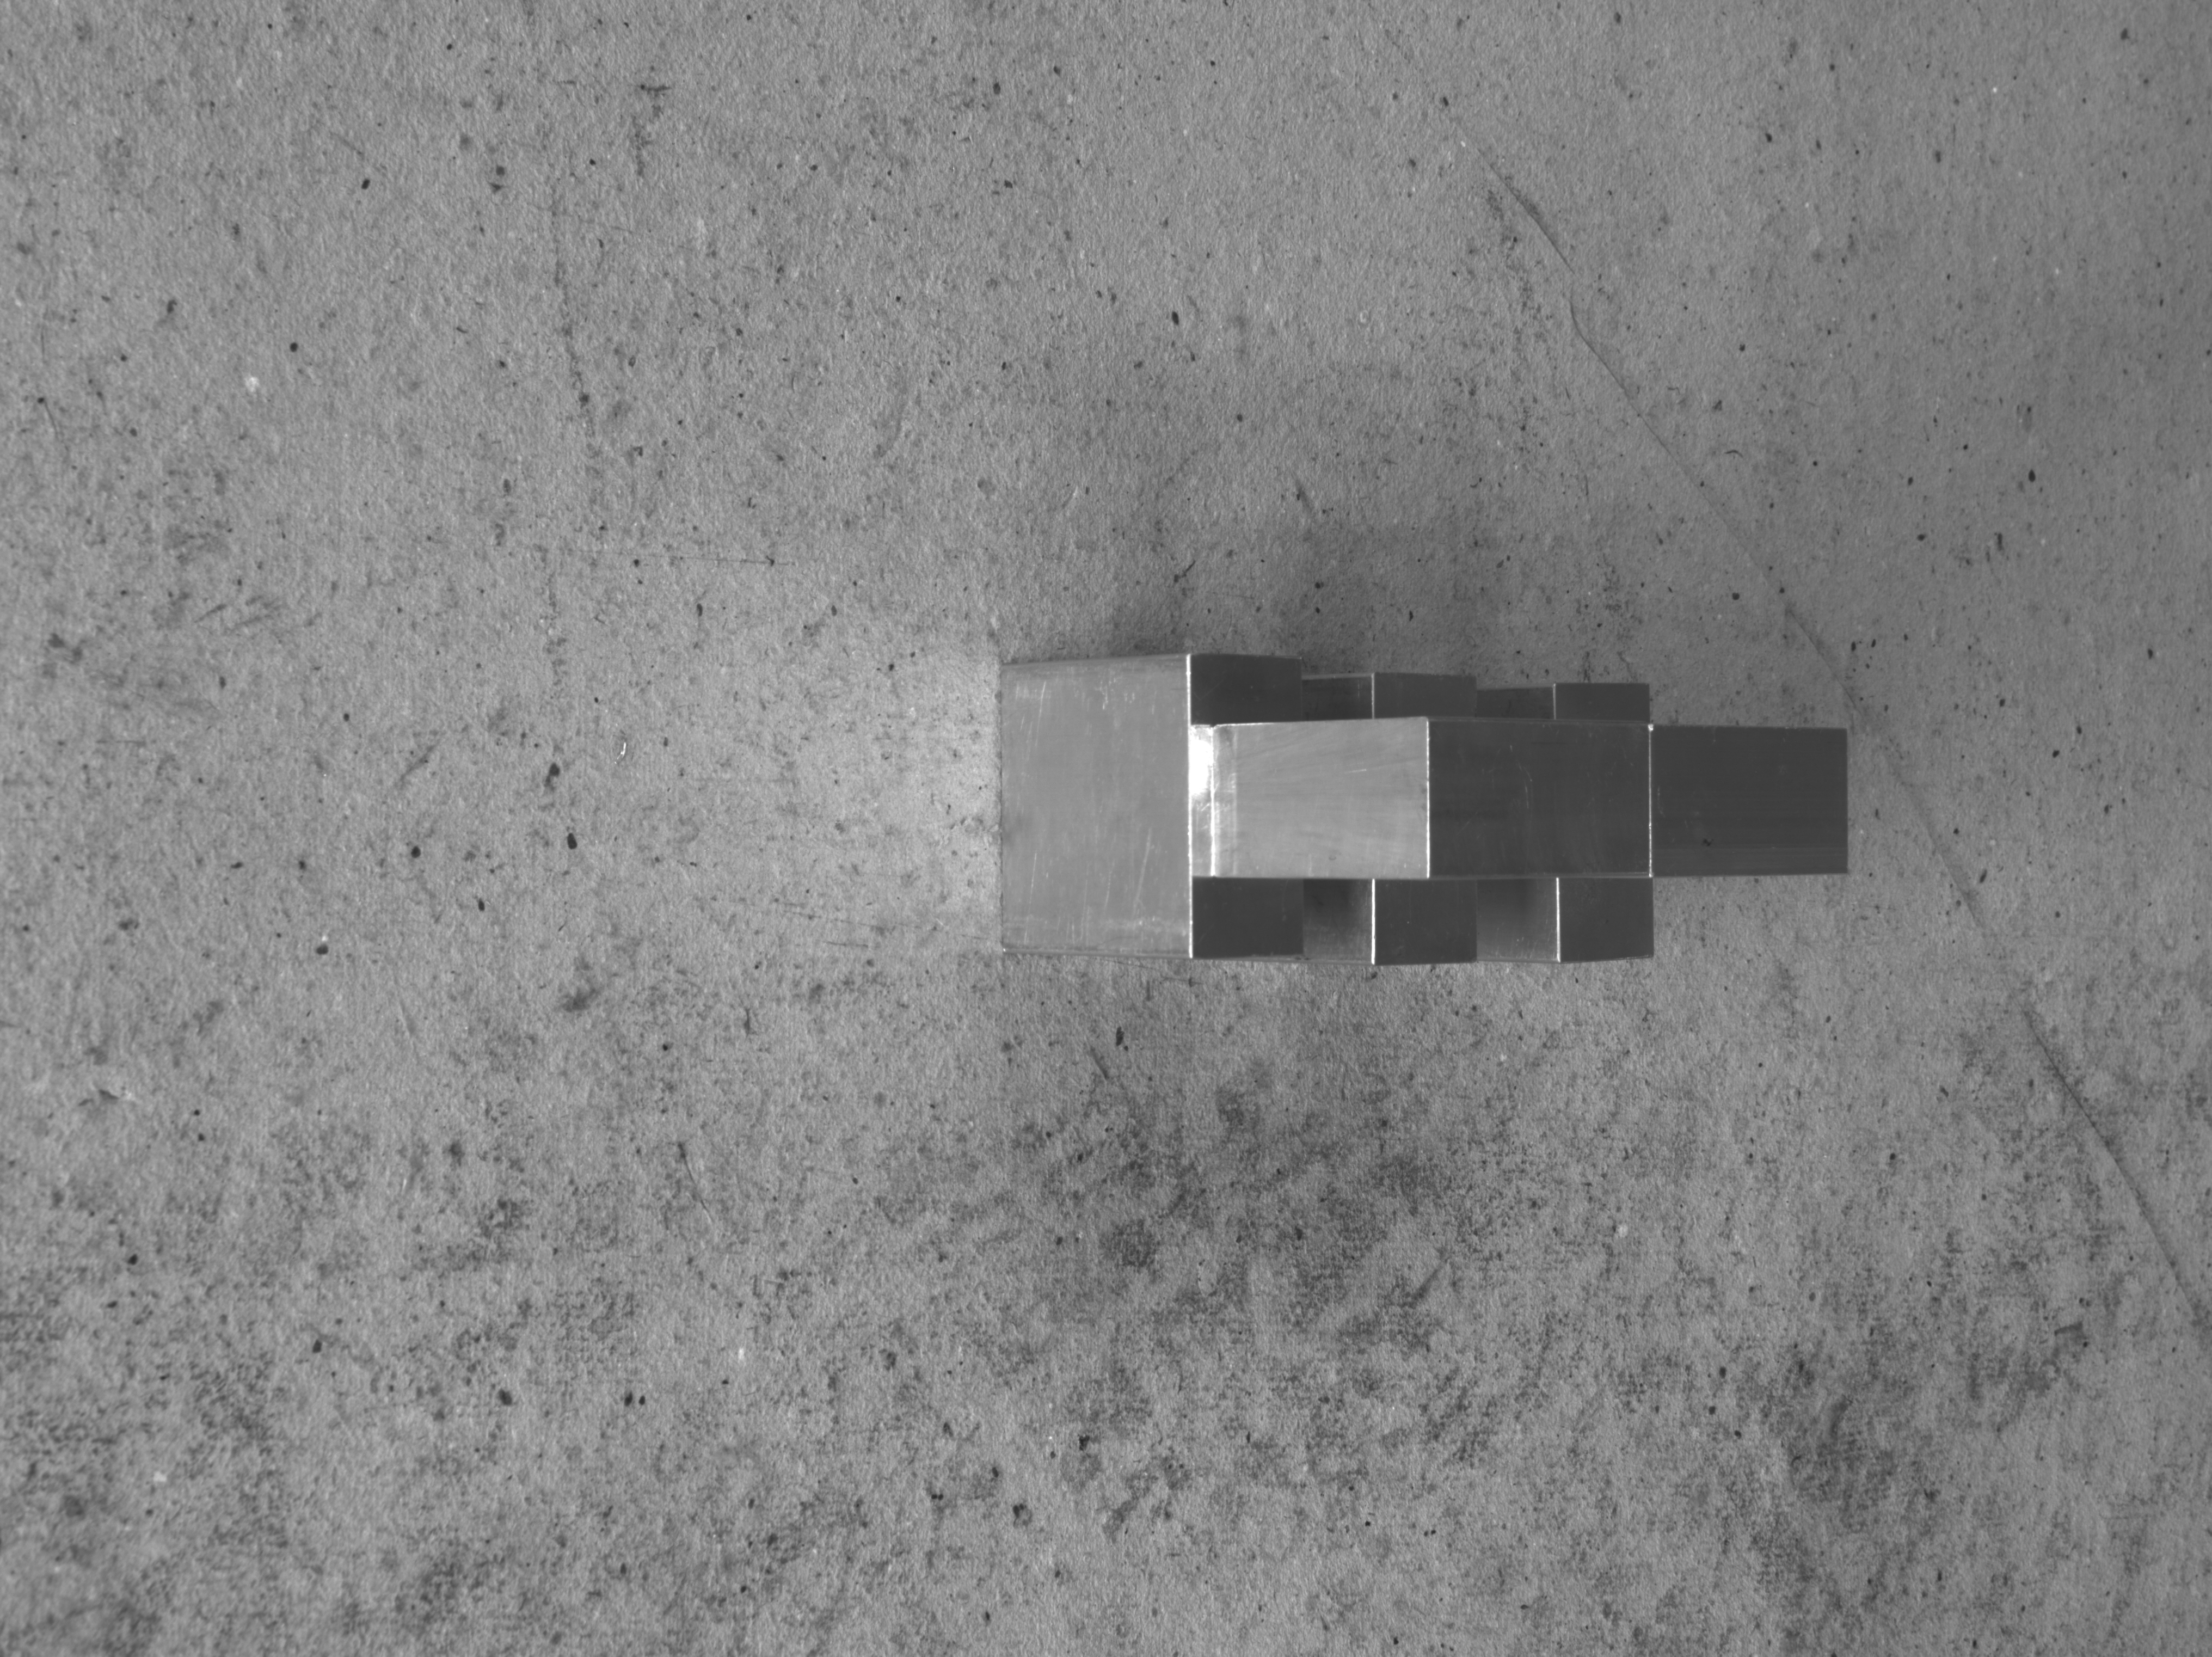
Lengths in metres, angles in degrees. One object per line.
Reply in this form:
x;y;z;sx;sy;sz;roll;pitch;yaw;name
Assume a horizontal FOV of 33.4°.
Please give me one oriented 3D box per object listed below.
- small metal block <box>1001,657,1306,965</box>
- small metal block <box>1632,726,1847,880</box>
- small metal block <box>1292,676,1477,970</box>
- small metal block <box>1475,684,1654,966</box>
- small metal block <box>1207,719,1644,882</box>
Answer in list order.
0.008;-0.003;0.626;0.025;0.050;0.050;-1;90;-39;small metal block
0.091;-0.004;0.631;0.050;0.050;0.025;0;90;-40;small metal block
0.039;-0.001;0.653;0.025;0.050;0.050;-2;91;-39;small metal block
0.074;-0.001;0.682;0.025;0.050;0.050;-2;91;-39;small metal block
0.052;-0.004;0.600;0.050;0.050;0.025;0;90;-40;small metal block
